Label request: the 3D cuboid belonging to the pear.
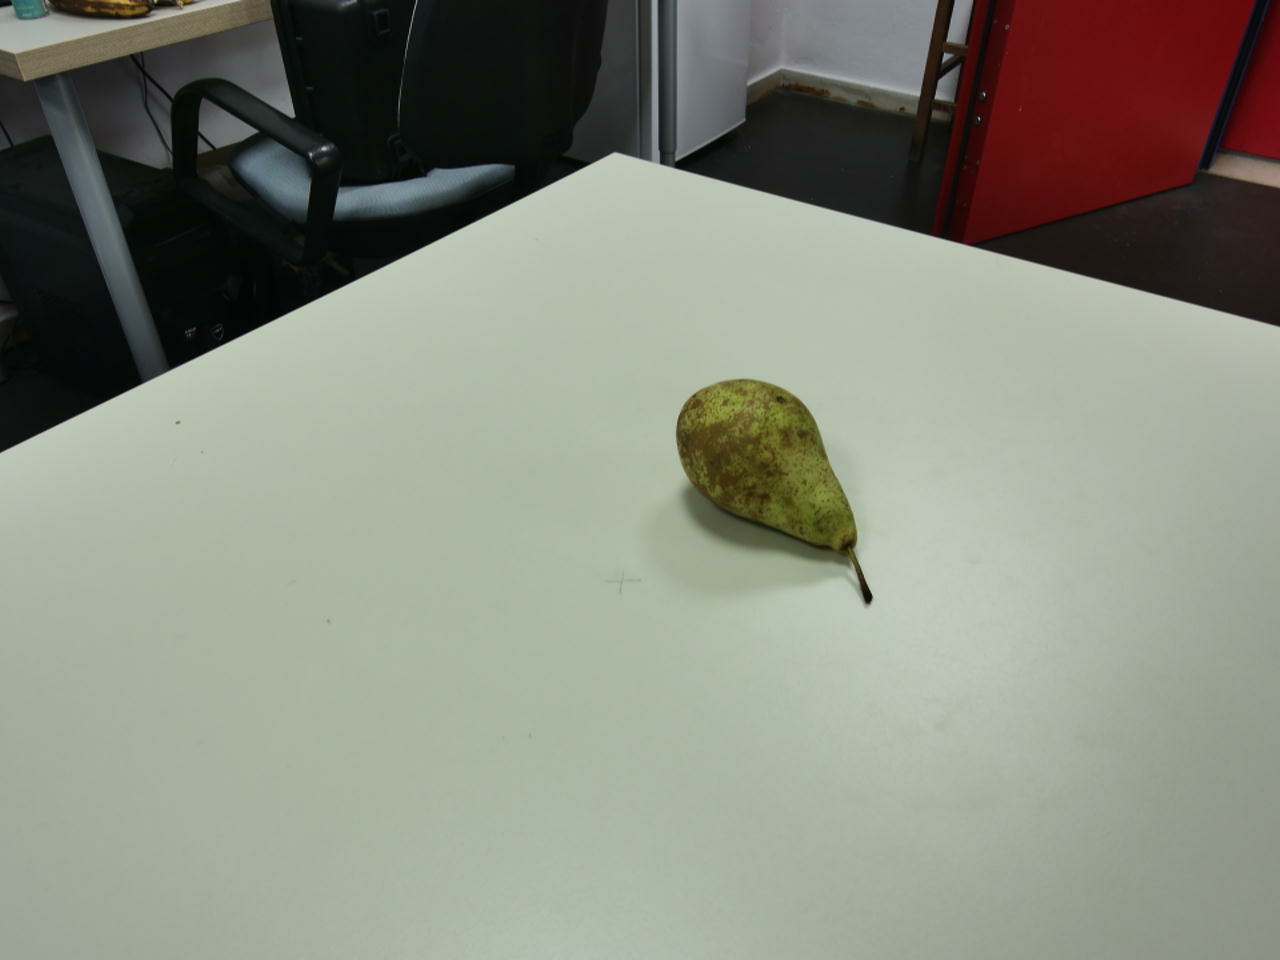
[{"bbox_3d":[0.077,-0.009,0.521,0.128,0.075,0.071,21,41,23],"label":"pear"}]
